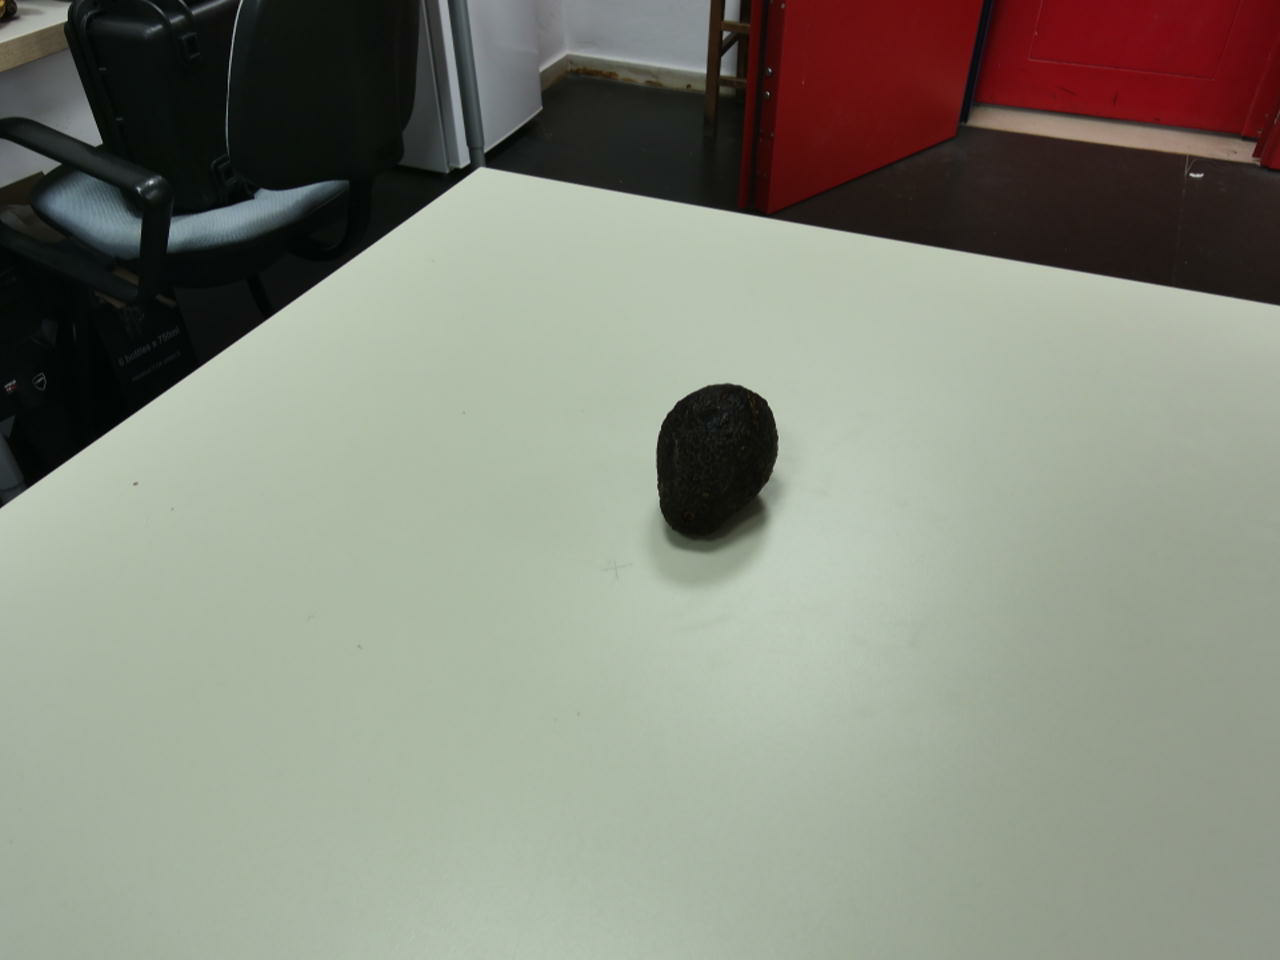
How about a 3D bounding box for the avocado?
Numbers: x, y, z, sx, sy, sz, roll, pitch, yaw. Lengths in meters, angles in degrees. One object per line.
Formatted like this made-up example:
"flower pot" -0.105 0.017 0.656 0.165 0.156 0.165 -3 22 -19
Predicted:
"avocado" 0.041 -0.016 0.581 0.090 0.069 0.070 -28 46 -30
